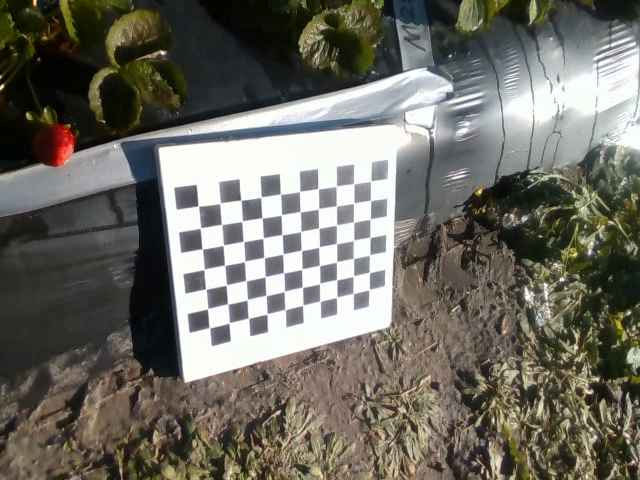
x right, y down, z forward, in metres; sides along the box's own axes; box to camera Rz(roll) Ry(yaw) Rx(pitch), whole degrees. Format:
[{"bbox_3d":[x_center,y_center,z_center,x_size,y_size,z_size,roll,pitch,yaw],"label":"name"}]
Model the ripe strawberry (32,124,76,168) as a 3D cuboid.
[{"bbox_3d":[-0.201,-0.067,0.465,0.036,0.038,0.046,-11,36,-22],"label":"ripe strawberry"}]
